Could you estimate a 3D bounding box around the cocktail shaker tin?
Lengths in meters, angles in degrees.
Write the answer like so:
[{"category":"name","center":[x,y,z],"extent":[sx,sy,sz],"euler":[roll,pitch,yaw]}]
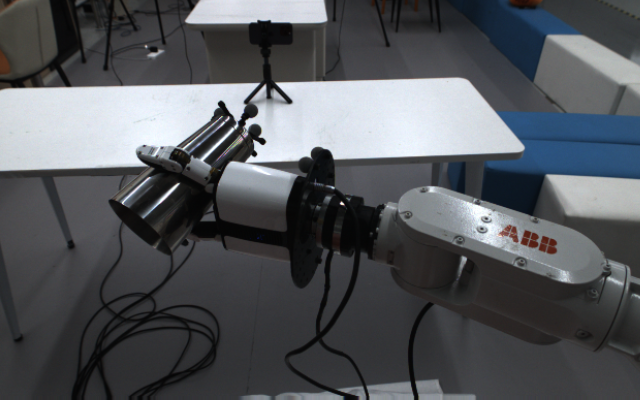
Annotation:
[{"category":"cocktail shaker tin","center":[-0.158,-0.031,0.588],"extent":[0.093,0.093,0.170],"euler":[23,57,27]}]
